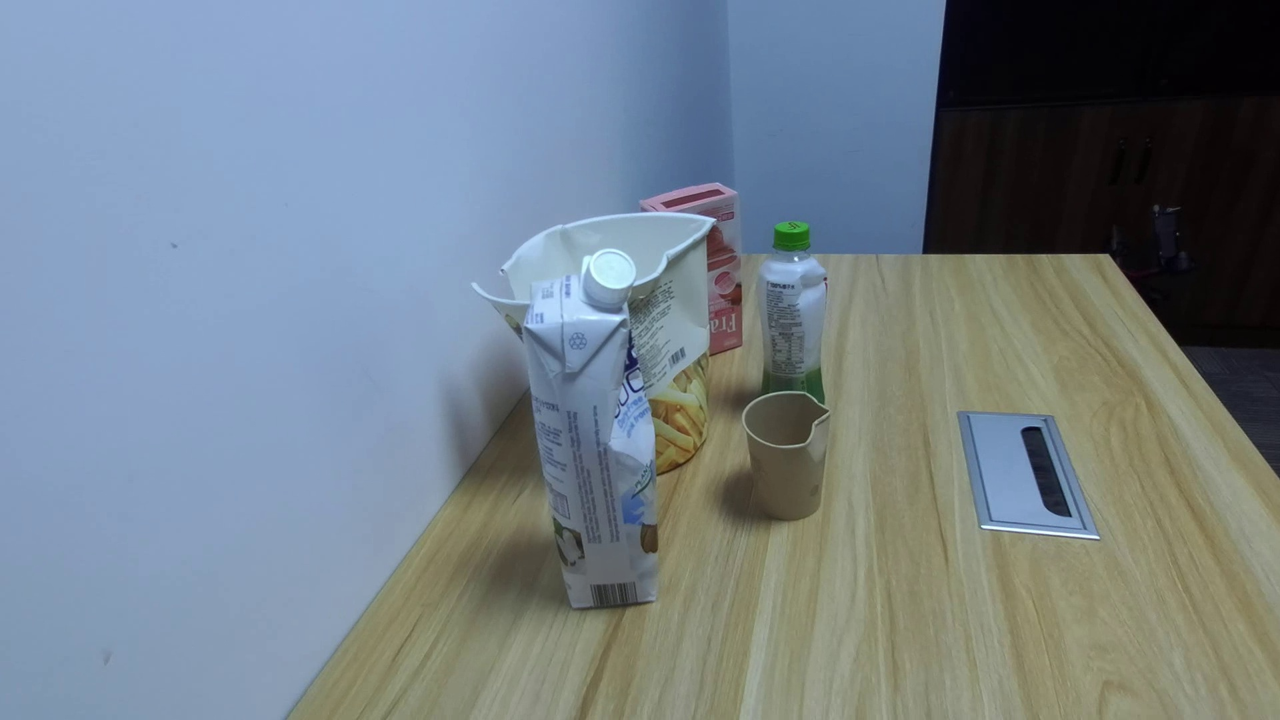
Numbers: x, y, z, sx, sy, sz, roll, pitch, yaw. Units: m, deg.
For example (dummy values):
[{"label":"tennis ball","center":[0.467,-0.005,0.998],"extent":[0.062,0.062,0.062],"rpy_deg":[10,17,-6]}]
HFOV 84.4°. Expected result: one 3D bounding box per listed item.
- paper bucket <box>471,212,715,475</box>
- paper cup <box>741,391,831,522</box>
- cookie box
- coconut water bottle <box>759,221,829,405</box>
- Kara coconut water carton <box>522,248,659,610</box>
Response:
[{"label":"paper bucket","center":[-0.021,-0.012,0.640],"extent":[0.145,0.197,0.203],"rpy_deg":[7,32,27]},{"label":"paper cup","center":[0.117,0.080,0.566],"extent":[0.069,0.081,0.073],"rpy_deg":[-17,30,-17]},{"label":"cookie box","center":[0.058,-0.093,0.786],"extent":[0.105,0.188,0.048],"rpy_deg":[-16,30,-16]},{"label":"coconut water bottle","center":[0.143,-0.034,0.654],"extent":[0.069,0.186,0.069],"rpy_deg":[-4,26,2]},{"label":"Kara coconut water carton","center":[-0.029,0.052,0.477],"extent":[0.078,0.256,0.083],"rpy_deg":[3,31,15]}]
